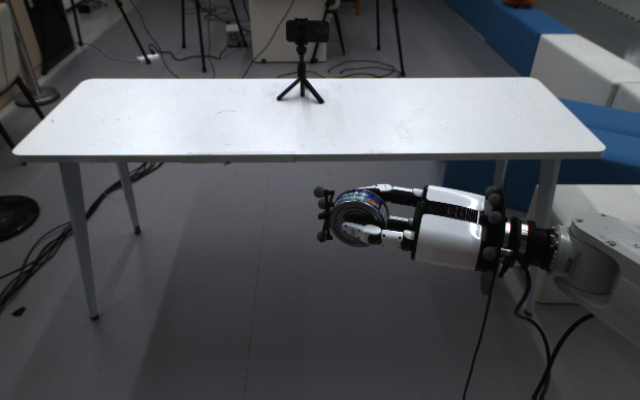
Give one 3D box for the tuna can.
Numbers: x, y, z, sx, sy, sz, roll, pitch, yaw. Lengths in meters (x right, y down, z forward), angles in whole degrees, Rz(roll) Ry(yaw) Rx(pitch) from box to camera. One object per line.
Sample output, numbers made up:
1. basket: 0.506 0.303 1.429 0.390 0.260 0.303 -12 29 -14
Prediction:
1. tuna can: 0.059 0.029 0.715 0.085 0.085 0.034 9 32 10
